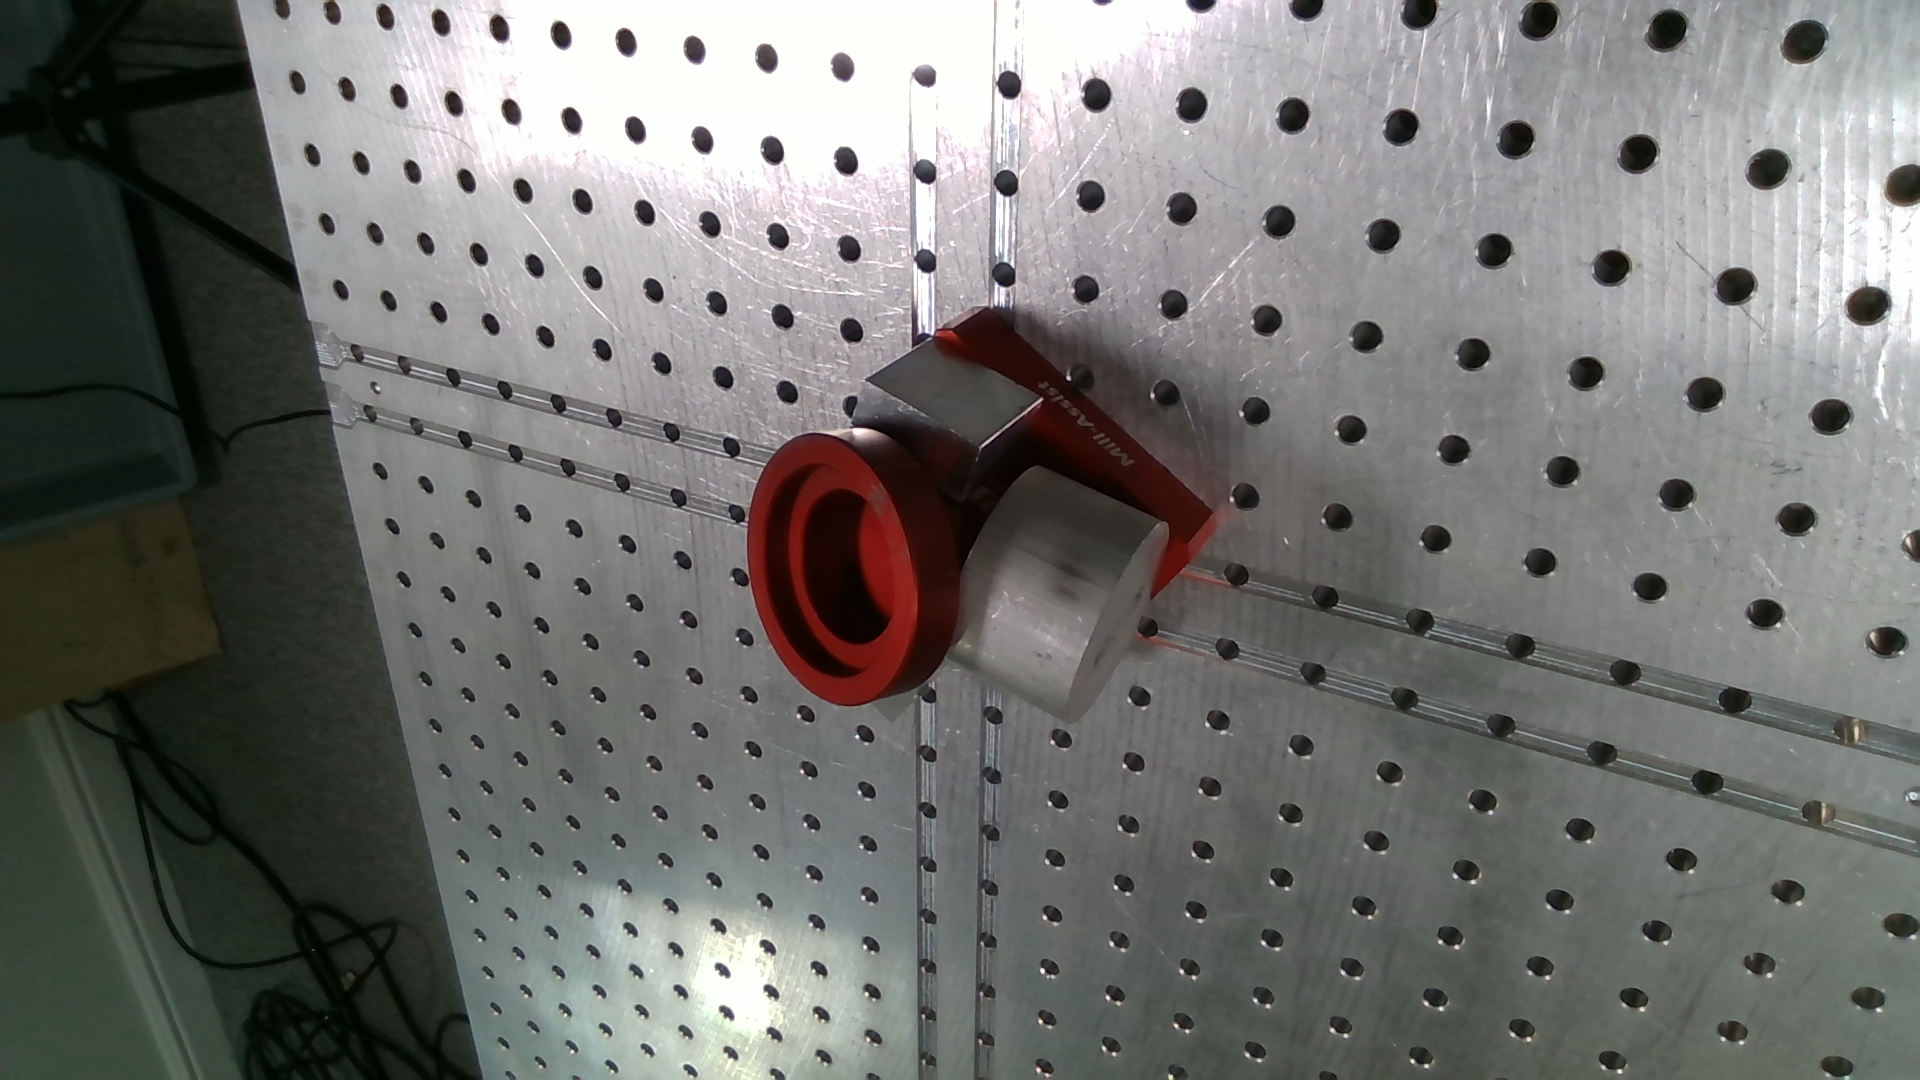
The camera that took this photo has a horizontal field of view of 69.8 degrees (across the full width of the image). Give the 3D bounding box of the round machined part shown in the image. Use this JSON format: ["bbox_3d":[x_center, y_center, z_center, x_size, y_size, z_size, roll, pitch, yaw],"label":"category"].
[{"bbox_3d":[-0.033,0.008,0.500,0.098,0.042,0.098,13,108,46],"label":"round machined part"}]

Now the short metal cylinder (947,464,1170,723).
[{"bbox_3d":[0.035,0.019,0.497,0.050,0.080,0.080,26,126,17],"label":"short metal cylinder"}]

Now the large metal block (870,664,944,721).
[{"bbox_3d":[-0.036,0.025,0.579,0.080,0.050,0.080,43,160,5],"label":"large metal block"}]

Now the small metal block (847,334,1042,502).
[{"bbox_3d":[-0.006,-0.046,0.505,0.050,0.050,0.025,31,127,14],"label":"small metal block"}]

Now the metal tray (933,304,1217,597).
[{"bbox_3d":[0.026,-0.019,0.554,0.130,0.030,0.090,43,129,4],"label":"metal tray"}]
